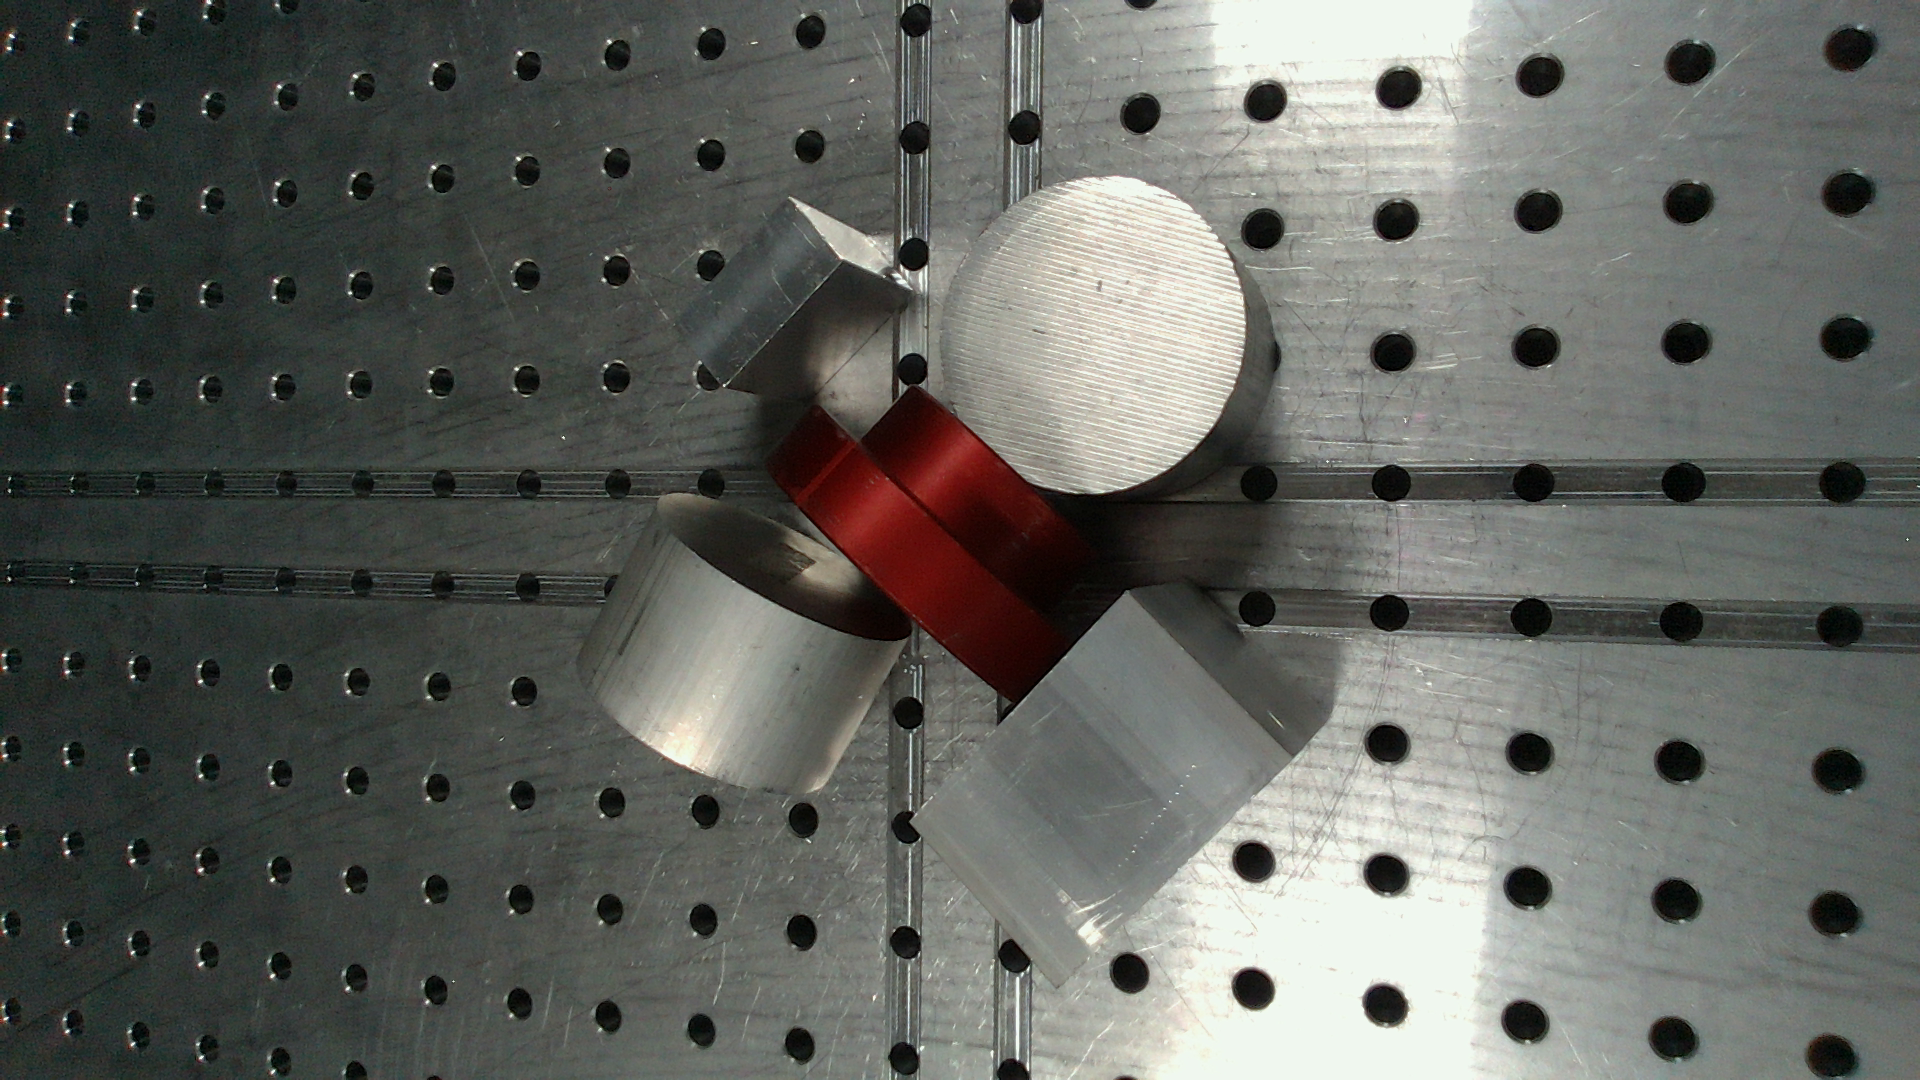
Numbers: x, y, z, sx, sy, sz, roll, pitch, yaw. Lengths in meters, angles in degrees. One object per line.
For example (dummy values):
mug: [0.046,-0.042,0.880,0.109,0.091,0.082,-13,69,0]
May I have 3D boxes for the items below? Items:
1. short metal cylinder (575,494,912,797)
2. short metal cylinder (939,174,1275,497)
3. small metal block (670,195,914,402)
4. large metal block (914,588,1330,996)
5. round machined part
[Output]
short metal cylinder: [-0.061,0.029,0.391,0.080,0.080,0.050,33,101,17]
short metal cylinder: [0.041,-0.052,0.370,0.080,0.050,0.080,0,90,20]
small metal block: [-0.048,-0.068,0.402,0.050,0.050,0.025,-44,76,15]
large metal block: [0.045,0.059,0.353,0.050,0.080,0.080,45,104,14]
round machined part: [-0.002,-0.003,0.361,0.098,0.098,0.042,43,91,15]
